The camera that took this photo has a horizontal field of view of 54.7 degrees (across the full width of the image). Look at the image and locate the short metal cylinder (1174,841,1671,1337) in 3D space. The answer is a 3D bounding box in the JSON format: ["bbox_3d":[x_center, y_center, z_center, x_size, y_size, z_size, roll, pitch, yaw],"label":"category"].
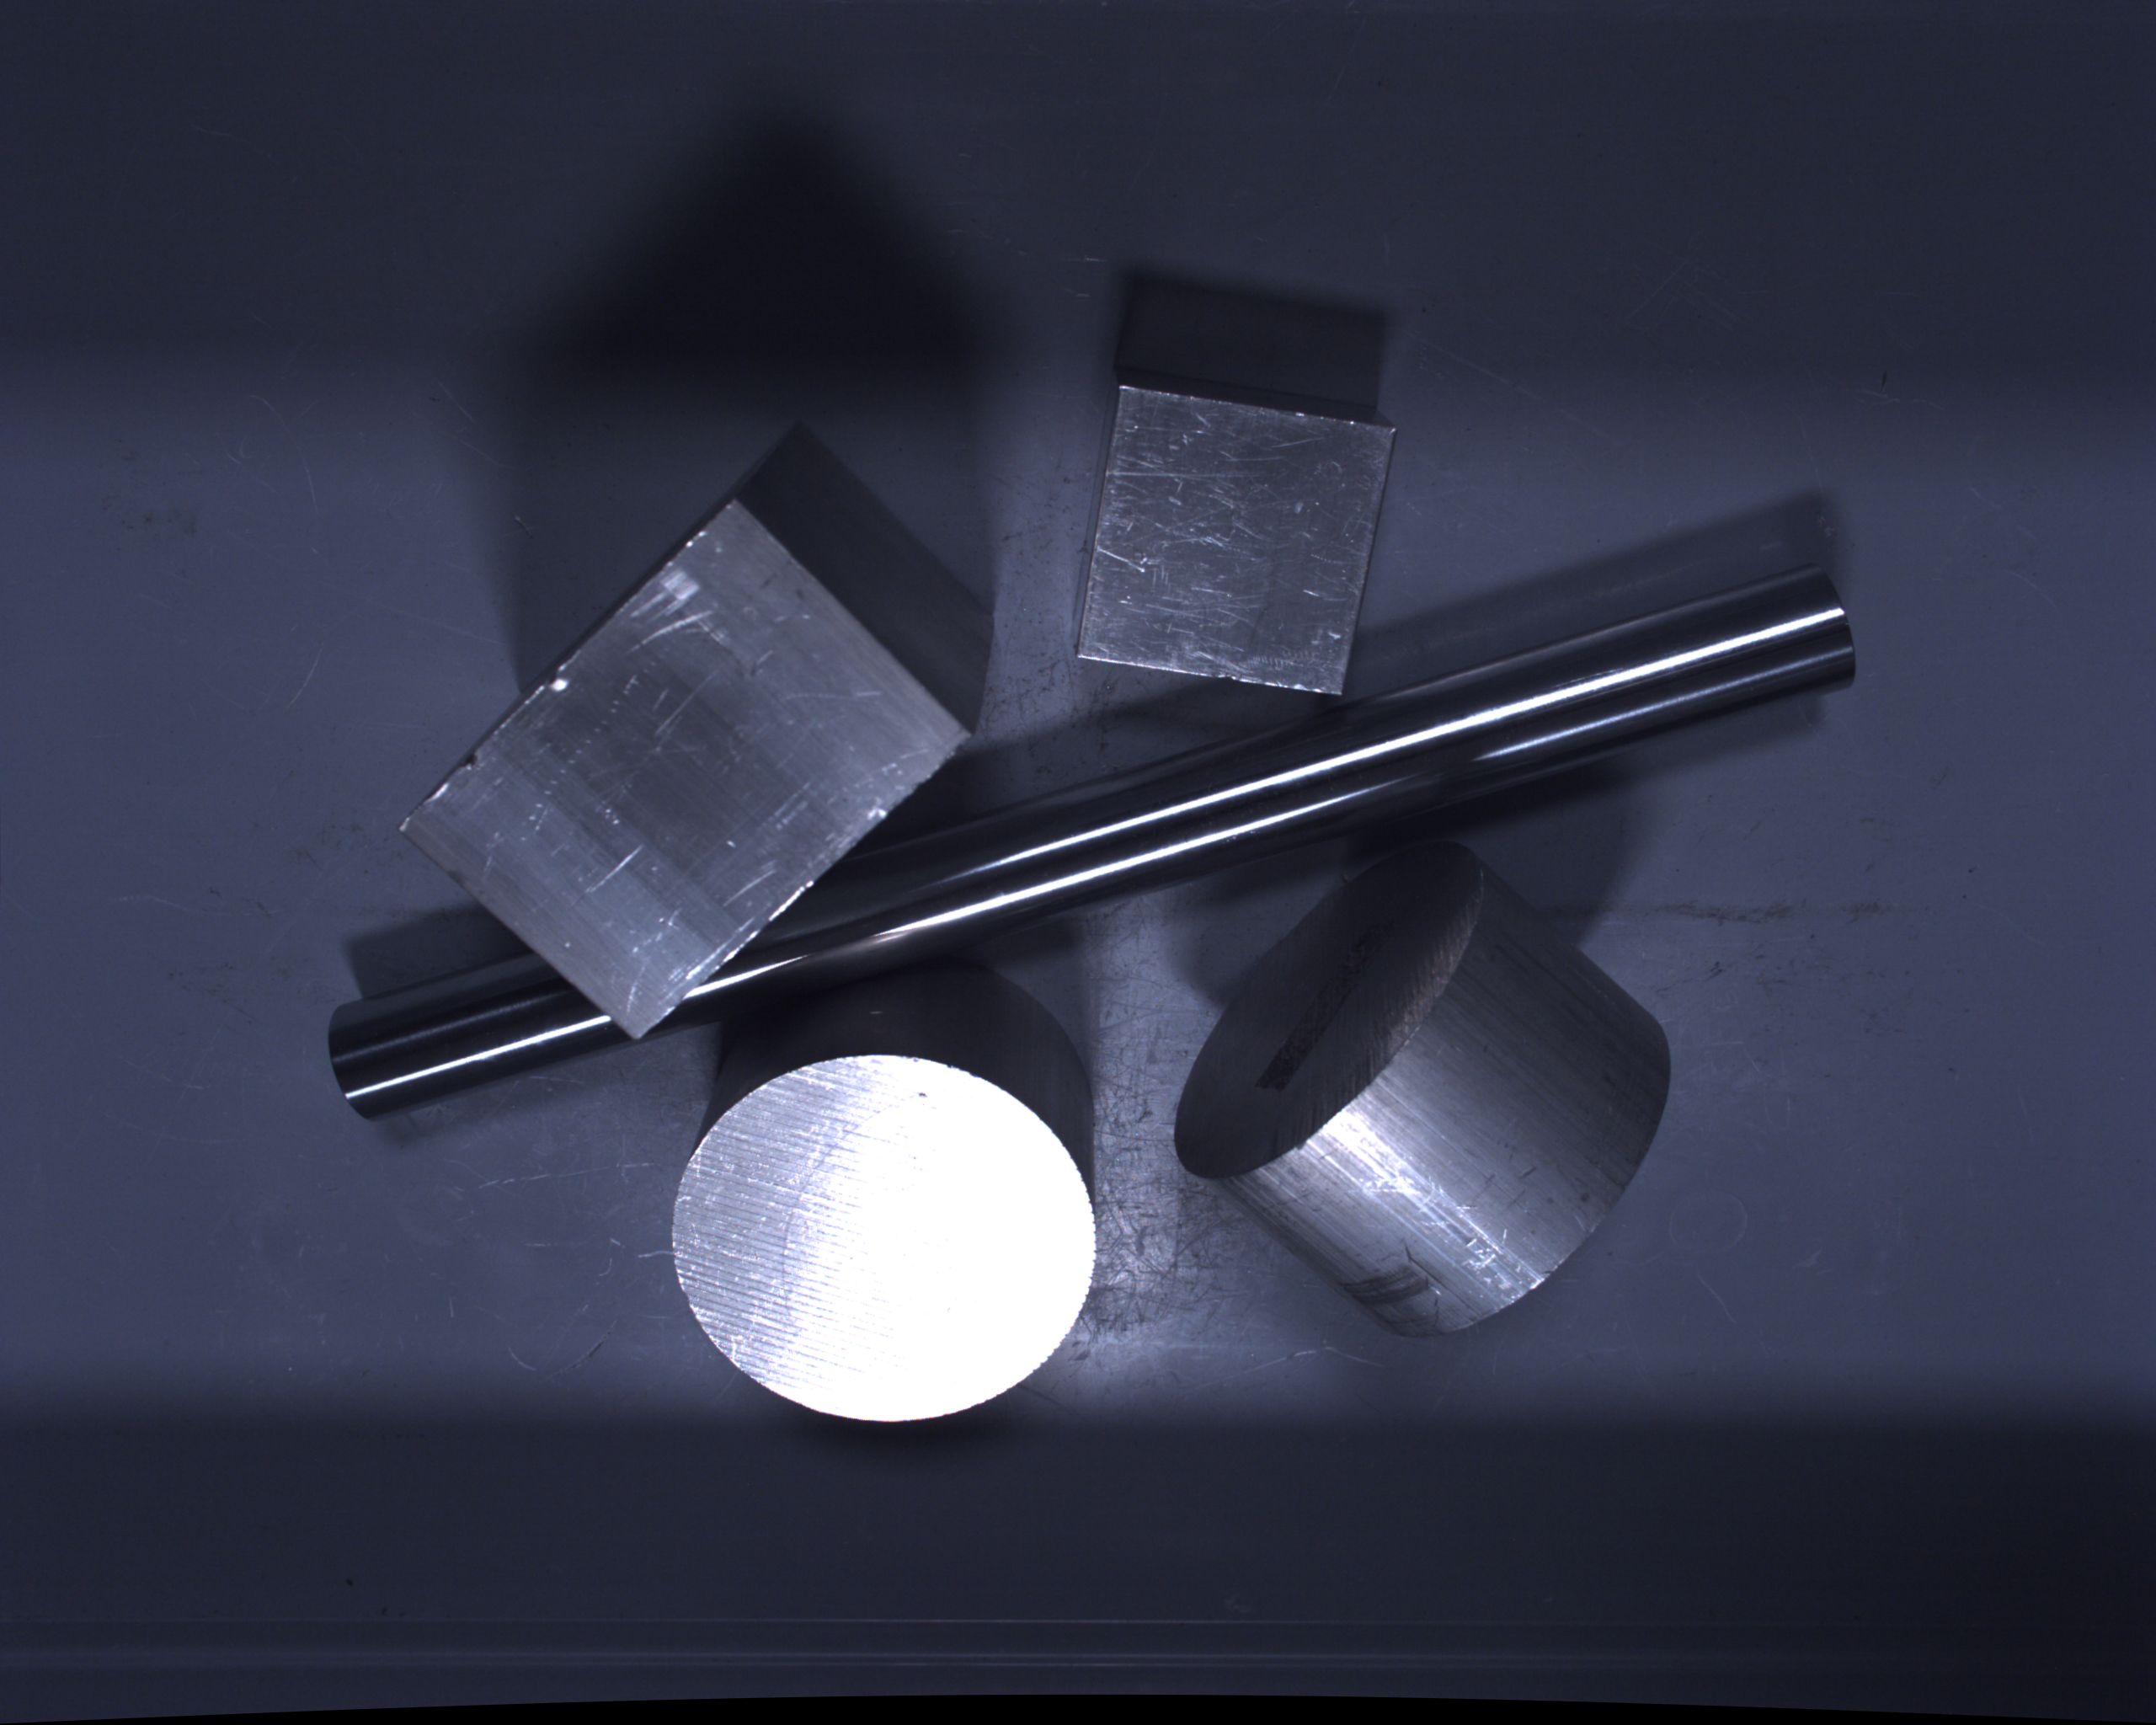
[{"bbox_3d":[0.064,0.042,0.397,0.050,0.080,0.080,41,105,-14],"label":"short metal cylinder"}]

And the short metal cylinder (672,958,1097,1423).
[{"bbox_3d":[-0.037,0.064,0.419,0.081,0.050,0.079,0,110,-1],"label":"short metal cylinder"}]

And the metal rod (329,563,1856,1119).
[{"bbox_3d":[-0.001,-0.002,0.409,0.301,0.025,0.025,-16,110,5],"label":"metal rod"}]

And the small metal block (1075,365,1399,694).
[{"bbox_3d":[0.028,-0.062,0.387,0.050,0.025,0.050,8,110,-4],"label":"small metal block"}]

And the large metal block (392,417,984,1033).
[{"bbox_3d":[-0.064,-0.028,0.370,0.080,0.080,0.050,-41,105,13],"label":"large metal block"}]
